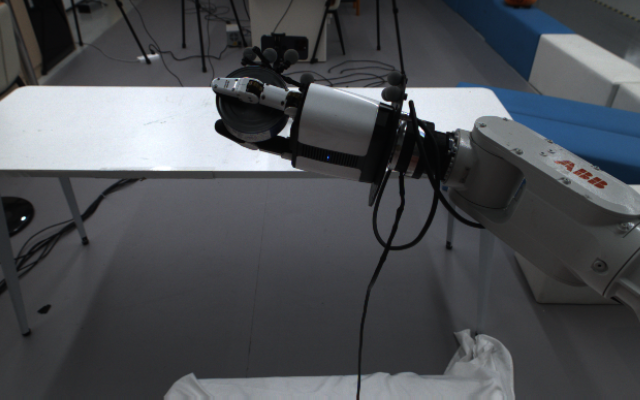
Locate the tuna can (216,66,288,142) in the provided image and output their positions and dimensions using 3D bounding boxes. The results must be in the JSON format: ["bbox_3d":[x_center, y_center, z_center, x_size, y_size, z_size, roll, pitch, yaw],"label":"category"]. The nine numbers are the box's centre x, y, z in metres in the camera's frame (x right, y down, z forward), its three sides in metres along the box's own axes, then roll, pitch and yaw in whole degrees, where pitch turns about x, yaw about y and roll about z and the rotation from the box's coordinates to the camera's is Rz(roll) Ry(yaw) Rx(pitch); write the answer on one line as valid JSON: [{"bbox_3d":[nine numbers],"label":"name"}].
[{"bbox_3d":[-0.078,-0.115,0.576,0.085,0.034,0.085,0,72,0],"label":"tuna can"}]
